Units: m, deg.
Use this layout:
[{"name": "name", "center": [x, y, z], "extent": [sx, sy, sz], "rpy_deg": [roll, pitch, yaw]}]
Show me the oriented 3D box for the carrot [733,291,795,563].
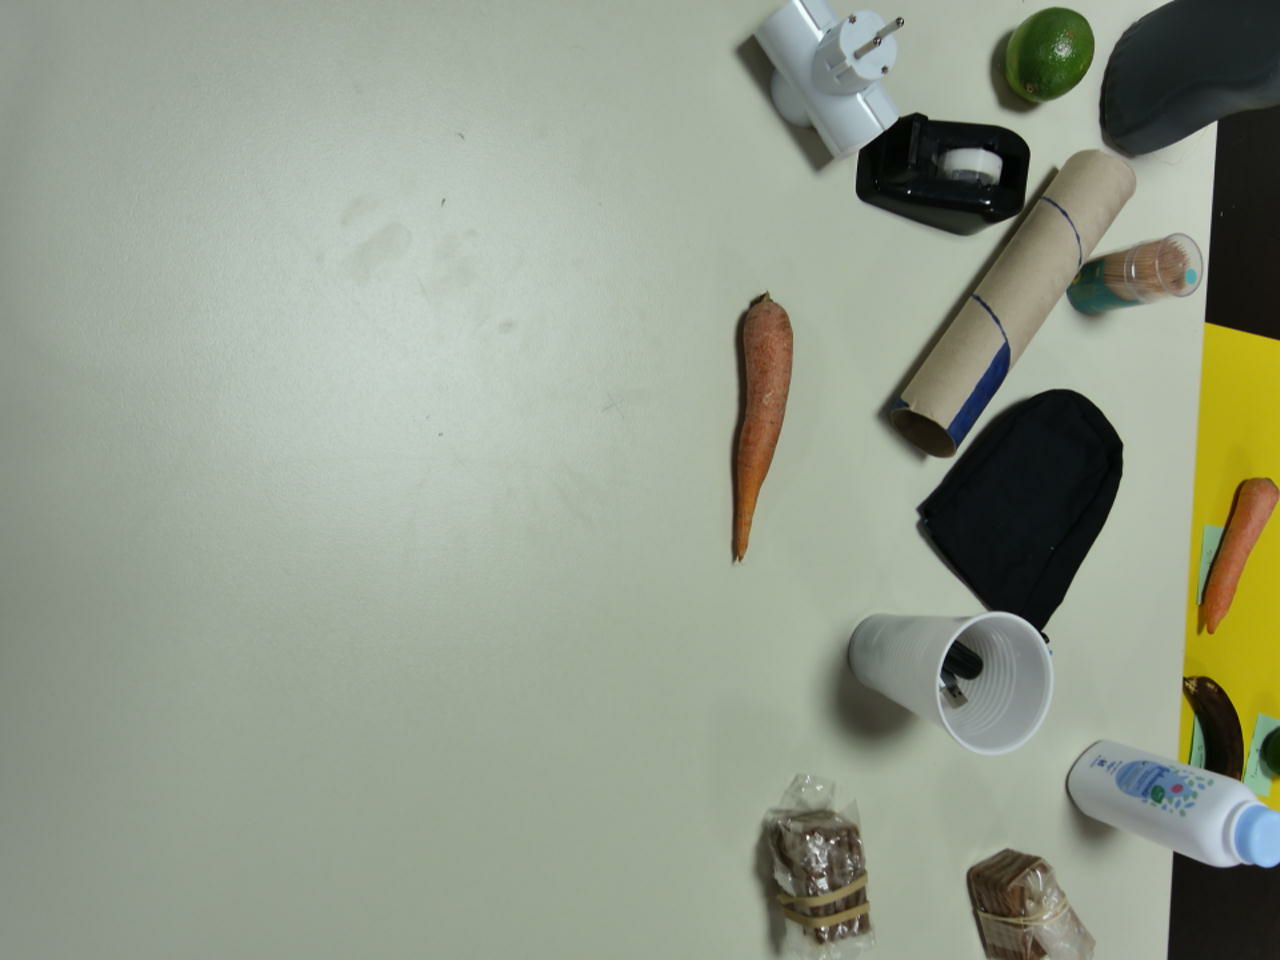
[{"name": "carrot", "center": [0.074, -0.032, 0.604], "extent": [0.031, 0.029, 0.163], "rpy_deg": [5, 89, -22]}]
